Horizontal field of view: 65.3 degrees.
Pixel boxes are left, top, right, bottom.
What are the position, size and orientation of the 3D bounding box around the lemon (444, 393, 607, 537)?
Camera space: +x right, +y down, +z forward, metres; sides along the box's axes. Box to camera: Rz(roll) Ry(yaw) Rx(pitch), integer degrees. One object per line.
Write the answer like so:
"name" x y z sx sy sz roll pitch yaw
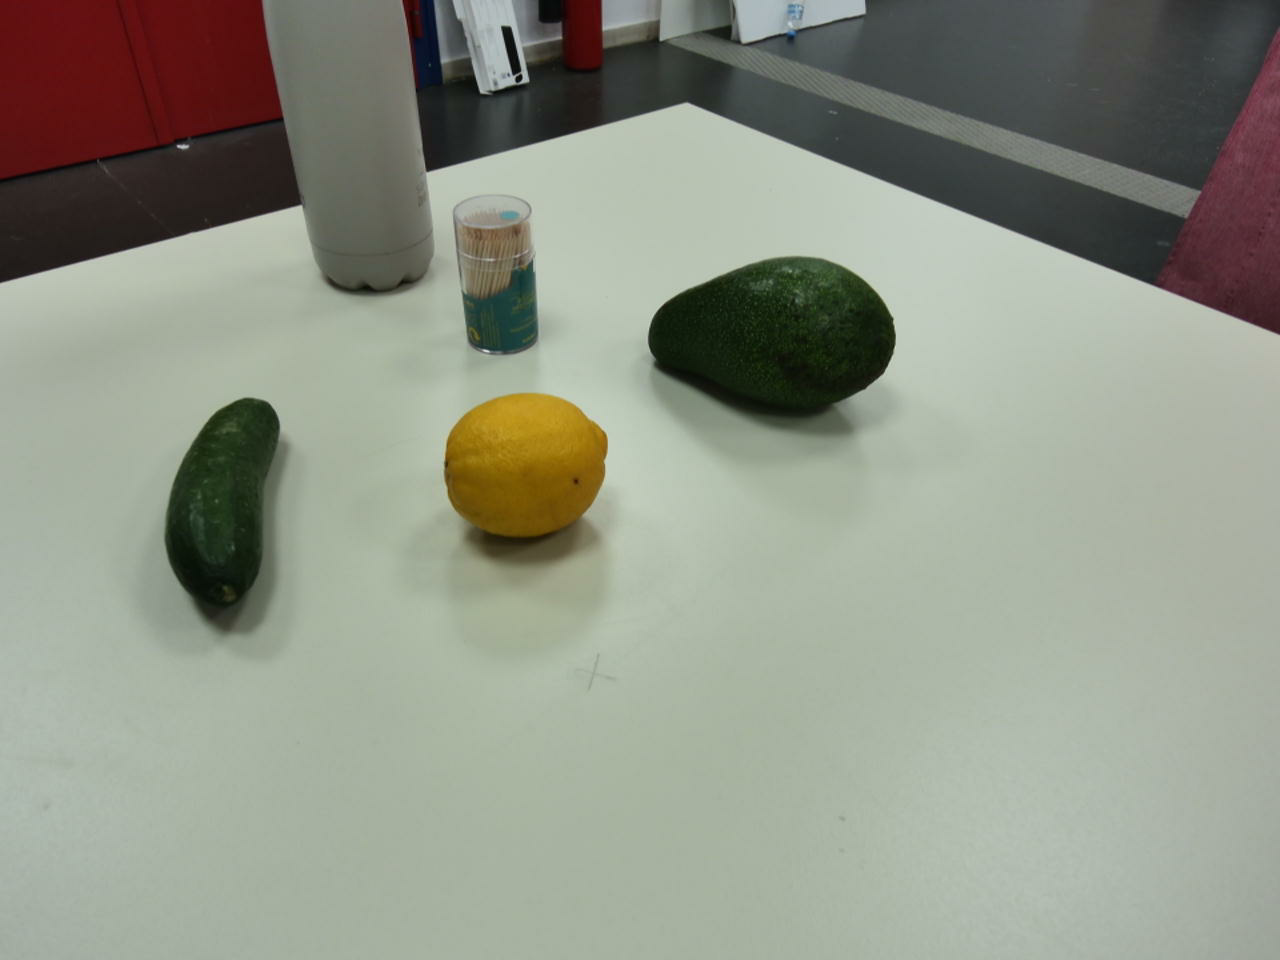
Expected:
"lemon" -0.048 -0.005 0.415 0.067 0.059 0.060 2 37 2
